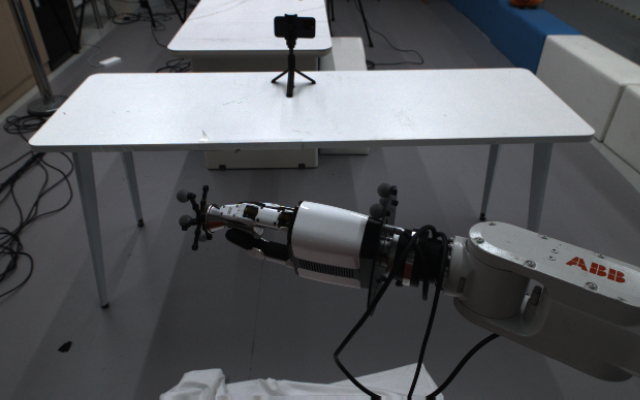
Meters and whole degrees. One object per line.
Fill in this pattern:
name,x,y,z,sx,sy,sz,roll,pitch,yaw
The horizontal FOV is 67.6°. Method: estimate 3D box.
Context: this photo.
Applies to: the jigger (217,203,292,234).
jigger,-0.103,0.023,0.637,0.071,0.043,0.043,3,34,14
